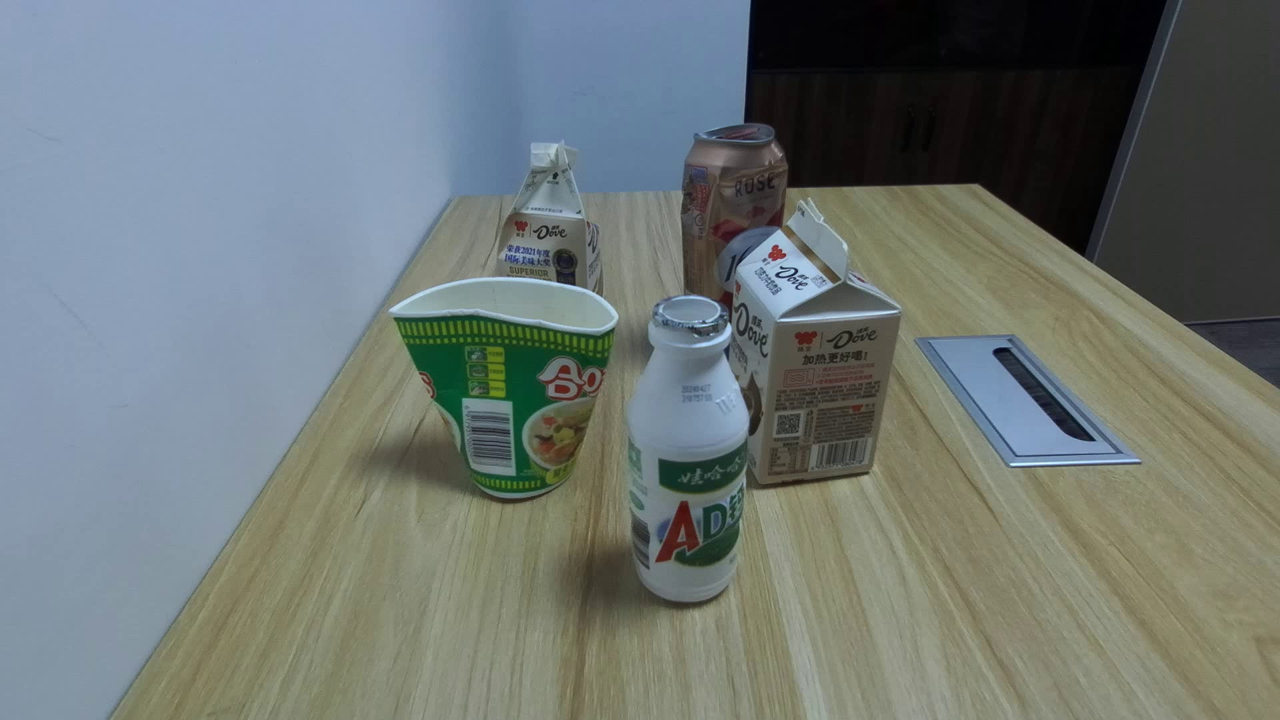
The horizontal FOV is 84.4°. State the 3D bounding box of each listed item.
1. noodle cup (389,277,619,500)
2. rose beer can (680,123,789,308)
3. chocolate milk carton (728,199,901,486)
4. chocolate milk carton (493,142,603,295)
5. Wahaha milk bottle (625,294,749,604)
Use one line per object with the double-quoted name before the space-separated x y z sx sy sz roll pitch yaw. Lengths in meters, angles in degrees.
"noodle cup" -0.070 0.016 0.404 0.114 0.111 0.070 18 38 29
"rose beer can" 0.066 -0.078 0.508 0.076 0.167 0.065 -15 30 -18
"chocolate milk carton" 0.097 -0.012 0.407 0.074 0.148 0.075 -6 31 -8
"chocolate milk carton" -0.068 -0.096 0.555 0.073 0.155 0.076 5 28 7
"Wahaha milk bottle" 0.023 0.046 0.330 0.056 0.148 0.056 -2 26 1
